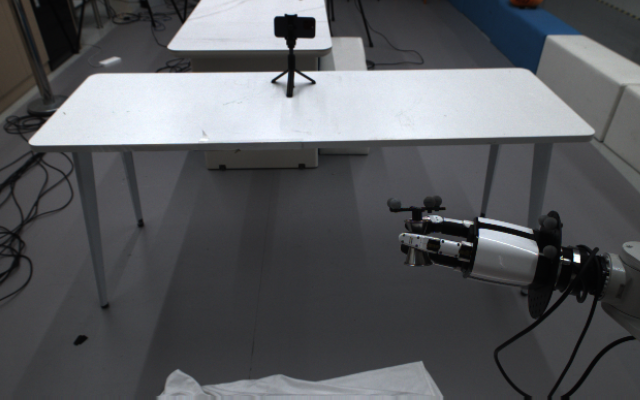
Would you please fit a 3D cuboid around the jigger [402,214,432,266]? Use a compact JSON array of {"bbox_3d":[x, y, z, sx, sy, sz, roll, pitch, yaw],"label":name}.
[{"bbox_3d":[0.149,0.064,0.744,0.043,0.071,0.043,-2,3,0],"label":"jigger"}]
